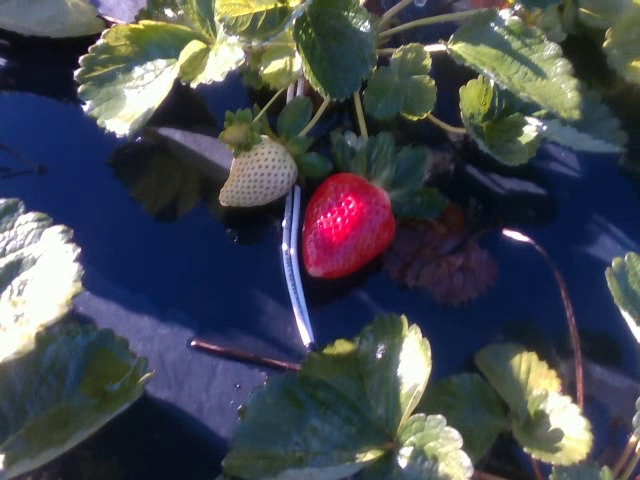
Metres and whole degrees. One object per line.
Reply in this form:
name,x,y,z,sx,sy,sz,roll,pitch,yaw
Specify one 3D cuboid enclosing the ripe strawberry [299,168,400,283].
ripe strawberry,0.018,-0.008,0.313,0.040,0.063,0.080,-20,25,50
